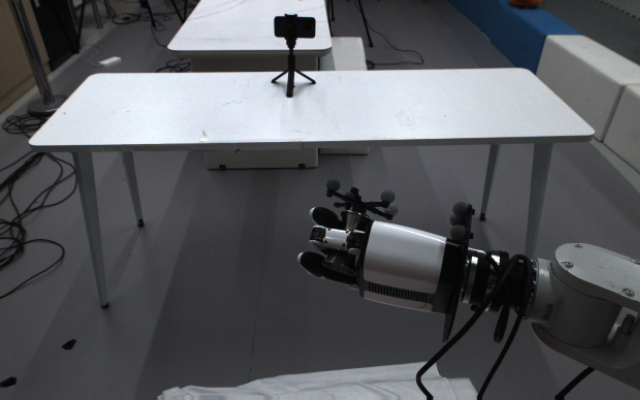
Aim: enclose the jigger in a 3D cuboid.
[{"bbox_3d":[0.036,0.052,0.582,0.043,0.043,0.071,13,70,16],"label":"jigger"}]
